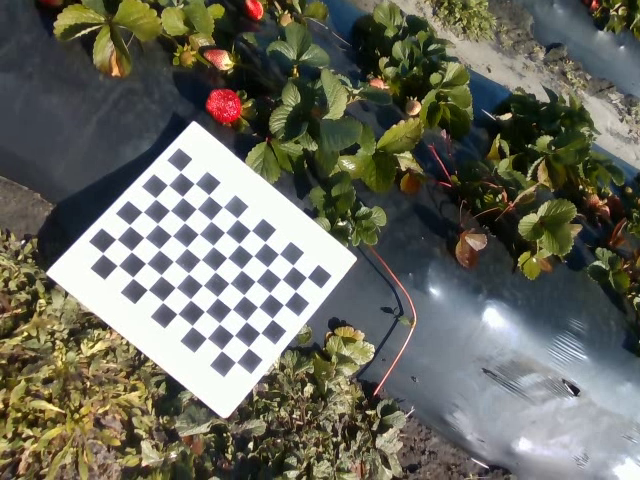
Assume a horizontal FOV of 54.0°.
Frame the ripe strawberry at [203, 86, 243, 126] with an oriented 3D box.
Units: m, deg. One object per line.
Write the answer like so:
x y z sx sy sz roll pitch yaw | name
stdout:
-0.133 -0.182 0.825 0.058 0.066 0.061 -10 -7 16 | ripe strawberry
